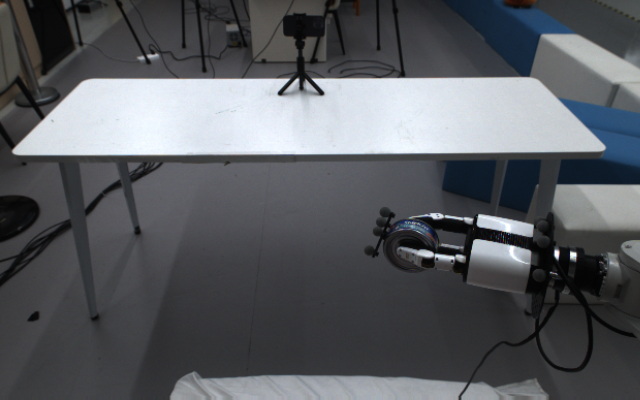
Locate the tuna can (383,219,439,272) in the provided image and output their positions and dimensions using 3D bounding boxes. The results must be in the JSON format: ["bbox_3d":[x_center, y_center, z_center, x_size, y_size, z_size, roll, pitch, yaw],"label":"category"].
[{"bbox_3d":[0.148,0.073,0.773,0.085,0.085,0.034,12,30,14],"label":"tuna can"}]
